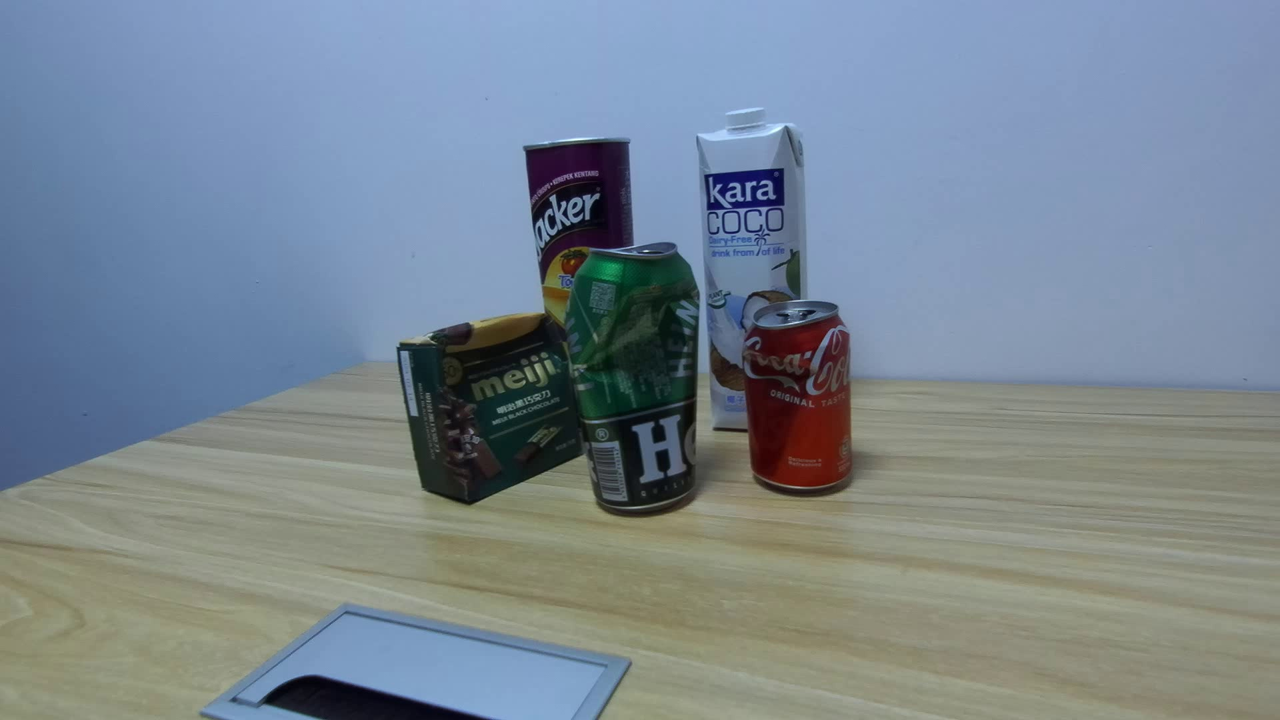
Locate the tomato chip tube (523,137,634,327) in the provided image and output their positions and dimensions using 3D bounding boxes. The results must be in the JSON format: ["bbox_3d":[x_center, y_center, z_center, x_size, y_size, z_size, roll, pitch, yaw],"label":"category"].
[{"bbox_3d":[-0.042,-0.061,0.597,0.080,0.234,0.077,5,13,41],"label":"tomato chip tube"}]

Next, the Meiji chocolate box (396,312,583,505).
[{"bbox_3d":[-0.110,0.034,0.520,0.058,0.110,0.114,-5,9,43],"label":"Meiji chocolate box"}]

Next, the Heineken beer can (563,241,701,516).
[{"bbox_3d":[-0.004,0.012,0.443,0.077,0.164,0.066,1,13,9],"label":"Heineken beer can"}]

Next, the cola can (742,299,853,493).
[{"bbox_3d":[0.105,0.023,0.456,0.066,0.117,0.072,-10,16,-23],"label":"cola can"}]

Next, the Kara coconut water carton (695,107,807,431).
[{"bbox_3d":[0.093,-0.071,0.560,0.077,0.245,0.075,2,18,25],"label":"Kara coconut water carton"}]
